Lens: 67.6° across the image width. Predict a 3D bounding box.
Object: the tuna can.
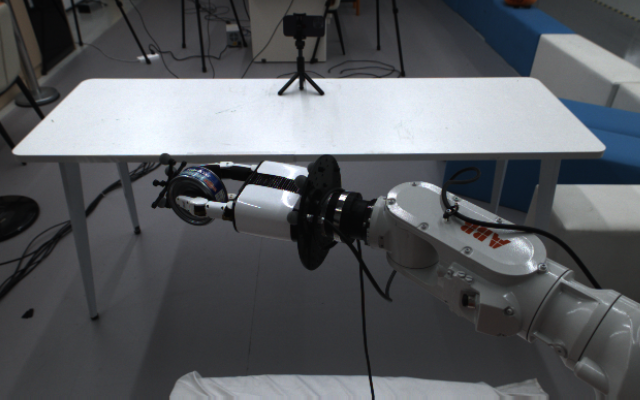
[{"bbox_3d":[-0.181,-0.005,0.716,0.085,0.085,0.034,13,31,15],"label":"tuna can"}]
